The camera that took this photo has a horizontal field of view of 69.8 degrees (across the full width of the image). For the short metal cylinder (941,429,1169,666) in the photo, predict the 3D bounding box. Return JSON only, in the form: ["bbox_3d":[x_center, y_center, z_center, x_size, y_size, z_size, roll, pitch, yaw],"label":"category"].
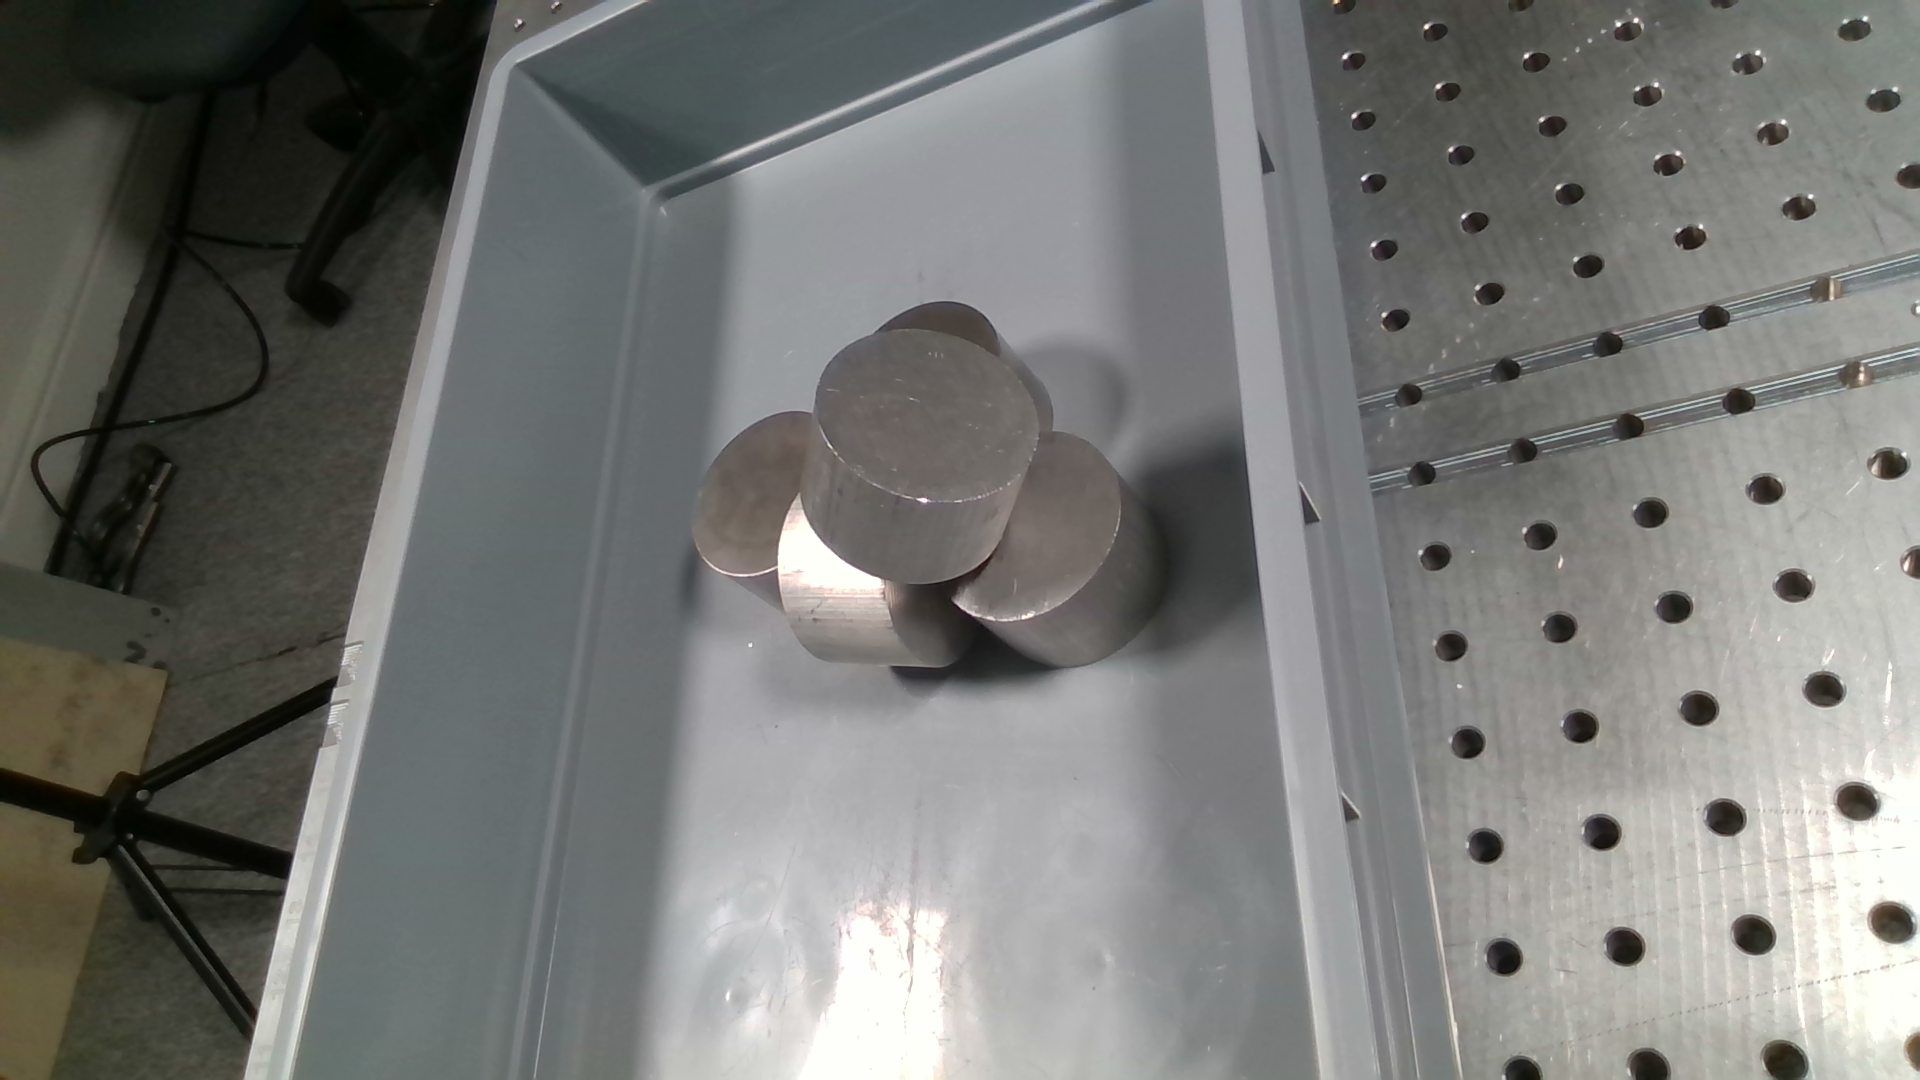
[{"bbox_3d":[0.036,0.003,0.544,0.080,0.050,0.080,-14,59,25],"label":"short metal cylinder"}]

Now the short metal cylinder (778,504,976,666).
[{"bbox_3d":[-0.029,0.011,0.562,0.050,0.080,0.080,-1,65,31],"label":"short metal cylinder"}]

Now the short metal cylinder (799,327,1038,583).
[{"bbox_3d":[-0.016,-0.031,0.504,0.080,0.050,0.080,6,54,-9],"label":"short metal cylinder"}]

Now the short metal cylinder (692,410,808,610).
[{"bbox_3d":[-0.073,-0.011,0.618,0.080,0.050,0.080,-14,59,25],"label":"short metal cylinder"}]

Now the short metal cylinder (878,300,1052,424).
[{"bbox_3d":[-0.007,-0.057,0.602,0.080,0.050,0.080,-14,59,25],"label":"short metal cylinder"}]
